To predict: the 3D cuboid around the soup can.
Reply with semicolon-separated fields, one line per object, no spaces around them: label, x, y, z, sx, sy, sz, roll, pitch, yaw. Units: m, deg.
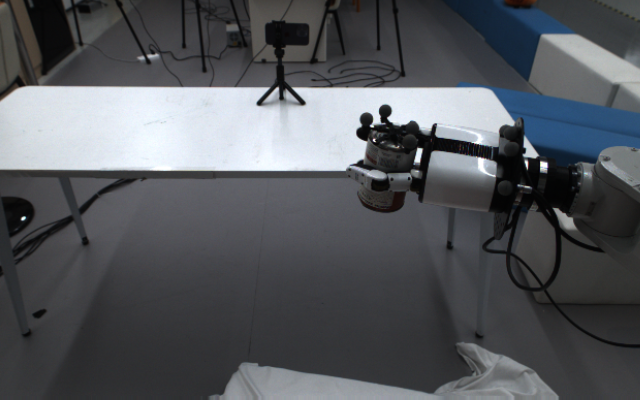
soup can;0.092;-0.043;0.660;0.067;0.101;0.067;5;37;-3
